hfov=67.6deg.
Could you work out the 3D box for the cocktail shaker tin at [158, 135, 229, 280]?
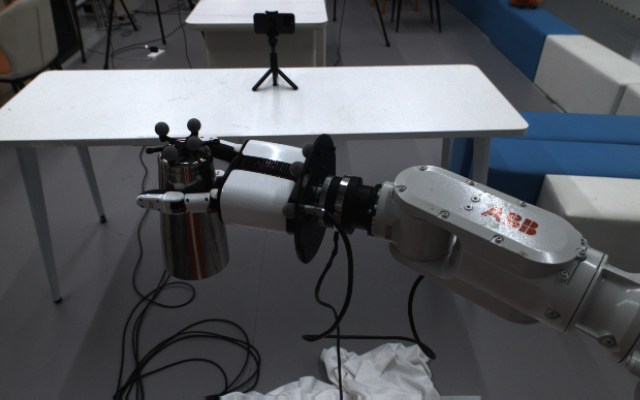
[{"bbox_3d":[-0.169,0.010,0.645,0.093,0.170,0.093,3,33,-2],"label":"cocktail shaker tin"}]
